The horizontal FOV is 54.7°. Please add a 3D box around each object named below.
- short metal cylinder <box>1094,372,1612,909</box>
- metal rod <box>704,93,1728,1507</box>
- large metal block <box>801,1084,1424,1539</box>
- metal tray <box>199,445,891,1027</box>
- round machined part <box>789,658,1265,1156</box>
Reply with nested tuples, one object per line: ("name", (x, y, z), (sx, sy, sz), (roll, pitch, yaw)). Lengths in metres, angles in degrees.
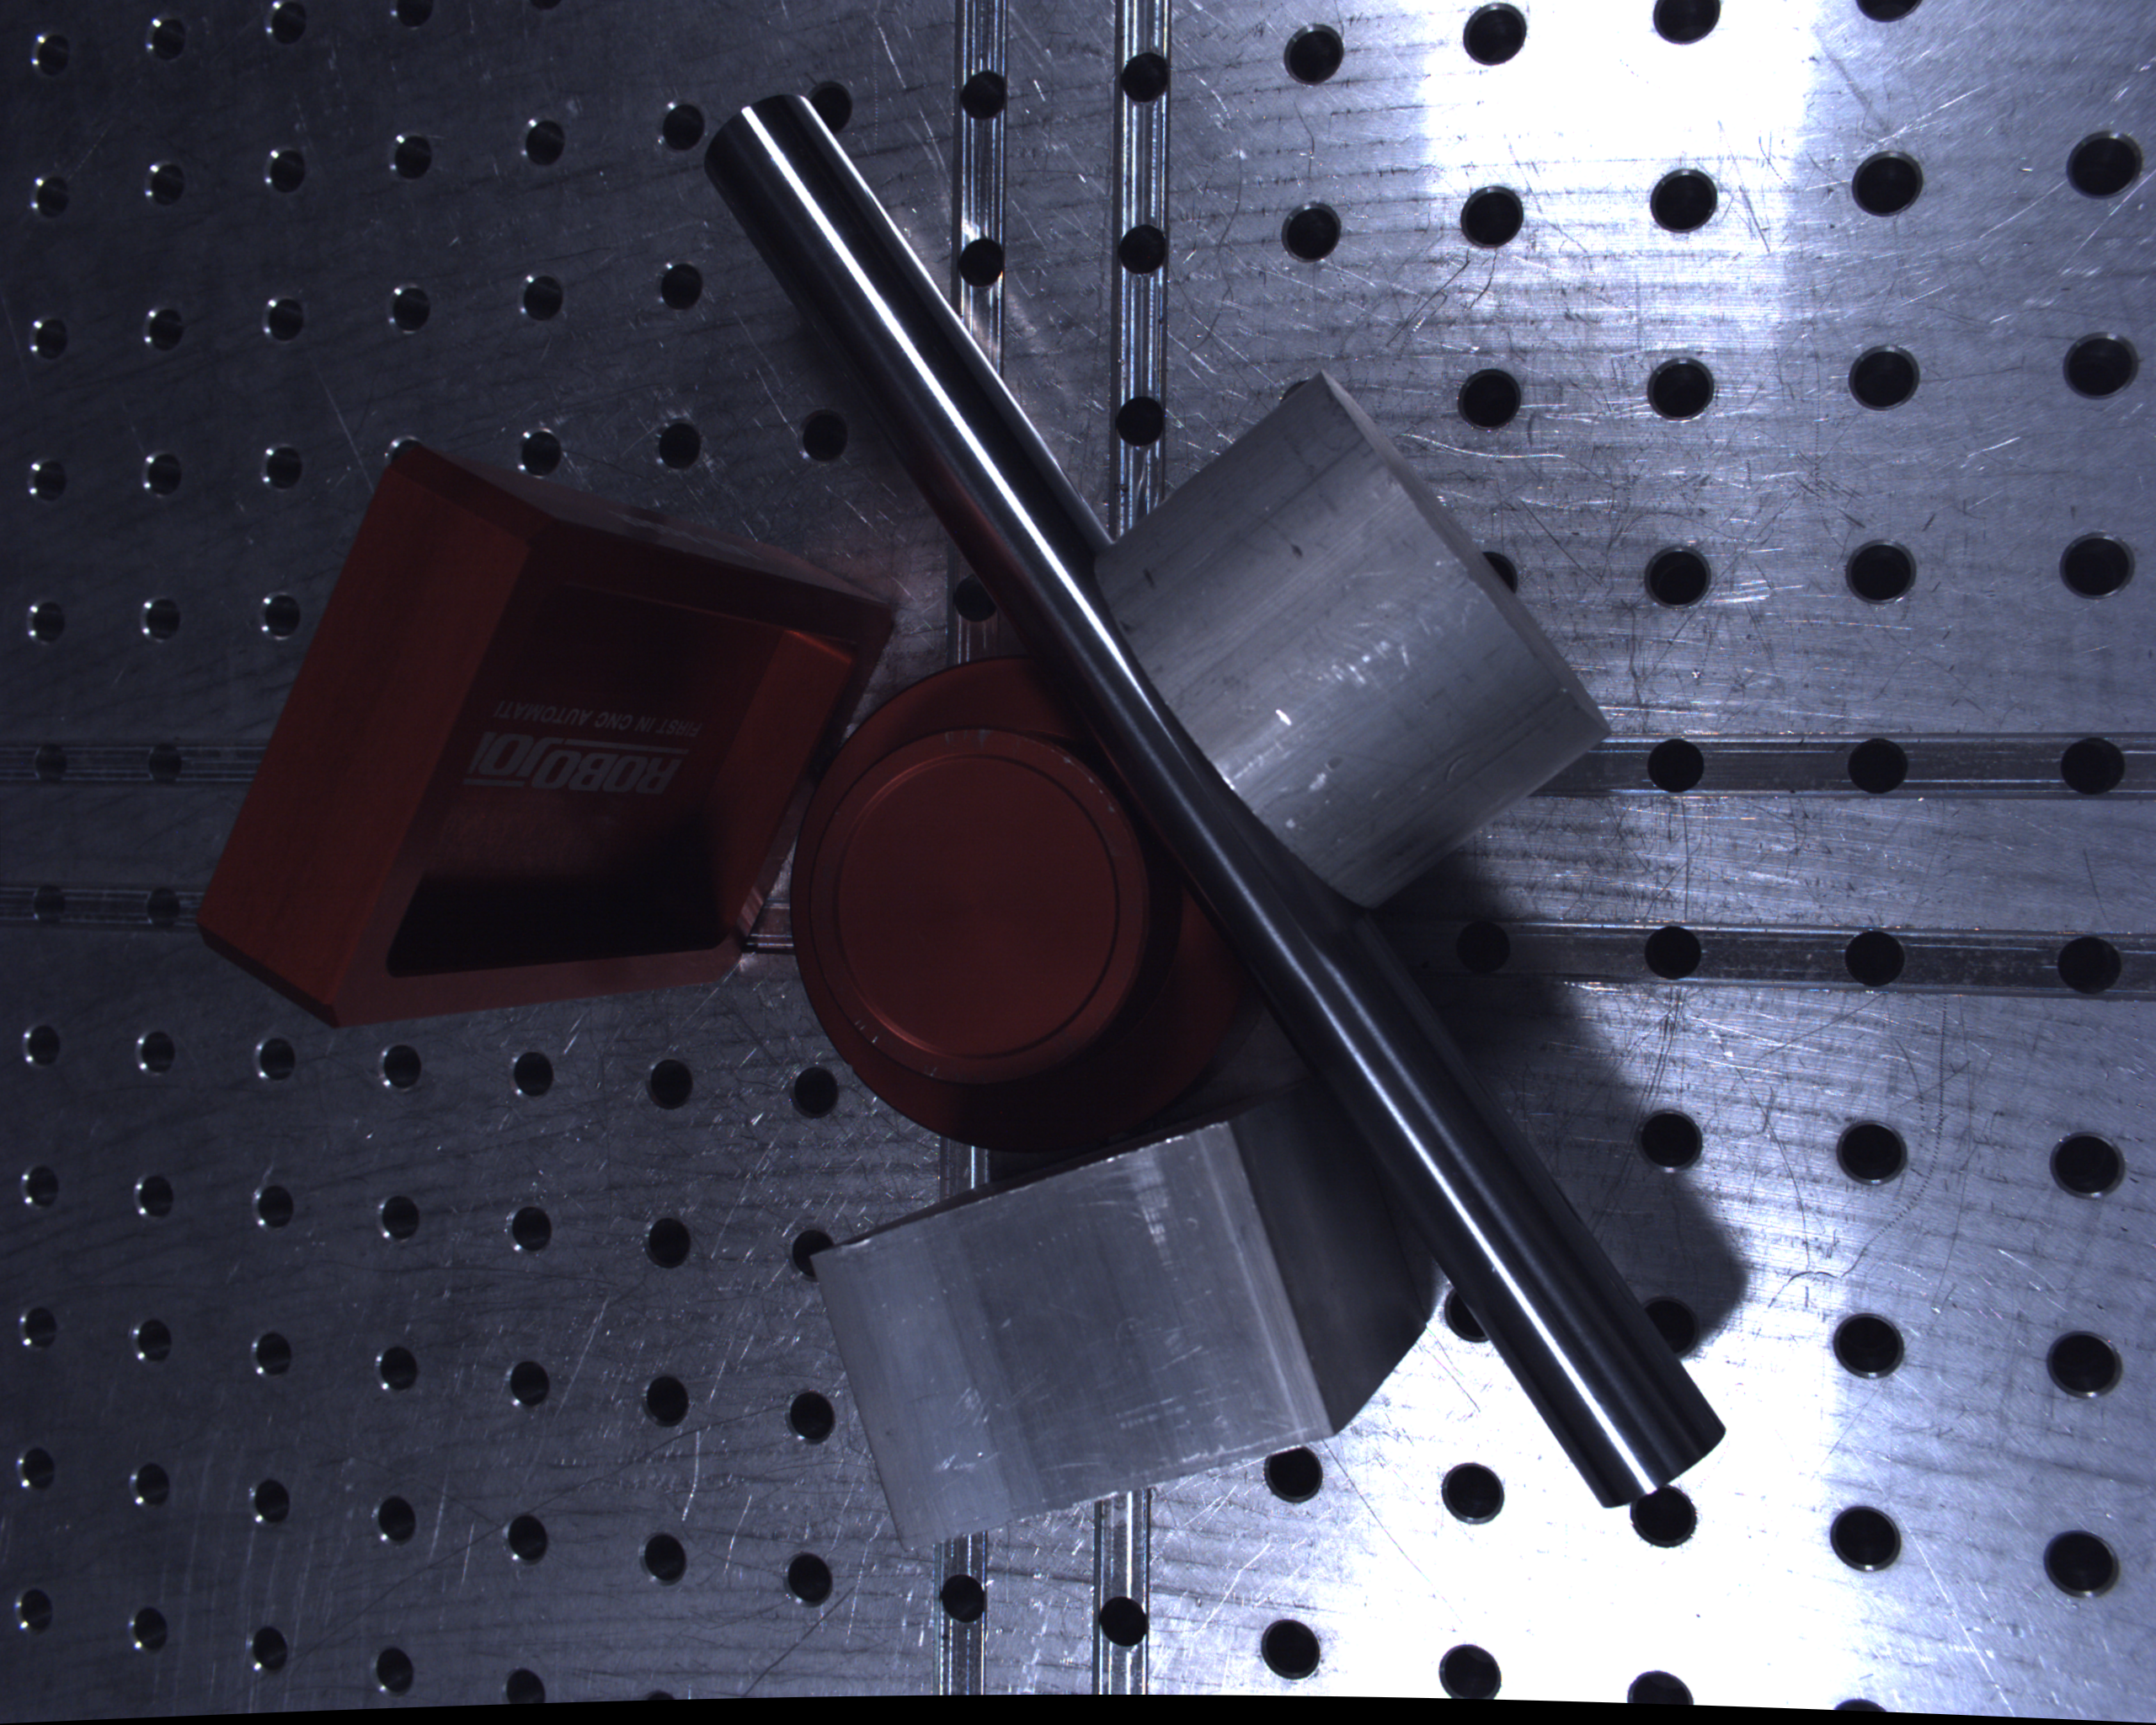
("short metal cylinder", (0.048, -0.039, 0.365), (0.050, 0.080, 0.080), (-39, 78, 16))
("metal rod", (0.019, -0.020, 0.383), (0.025, 0.025, 0.299), (-37, 79, 16))
("large metal block", (0.010, 0.077, 0.379), (0.080, 0.080, 0.050), (-20, 84, 18))
("metal tray", (-0.091, -0.020, 0.388), (0.030, 0.130, 0.090), (29, 99, 17))
("round machined part", (-0.013, 0.009, 0.407), (0.098, 0.042, 0.097), (0, 90, 19))
